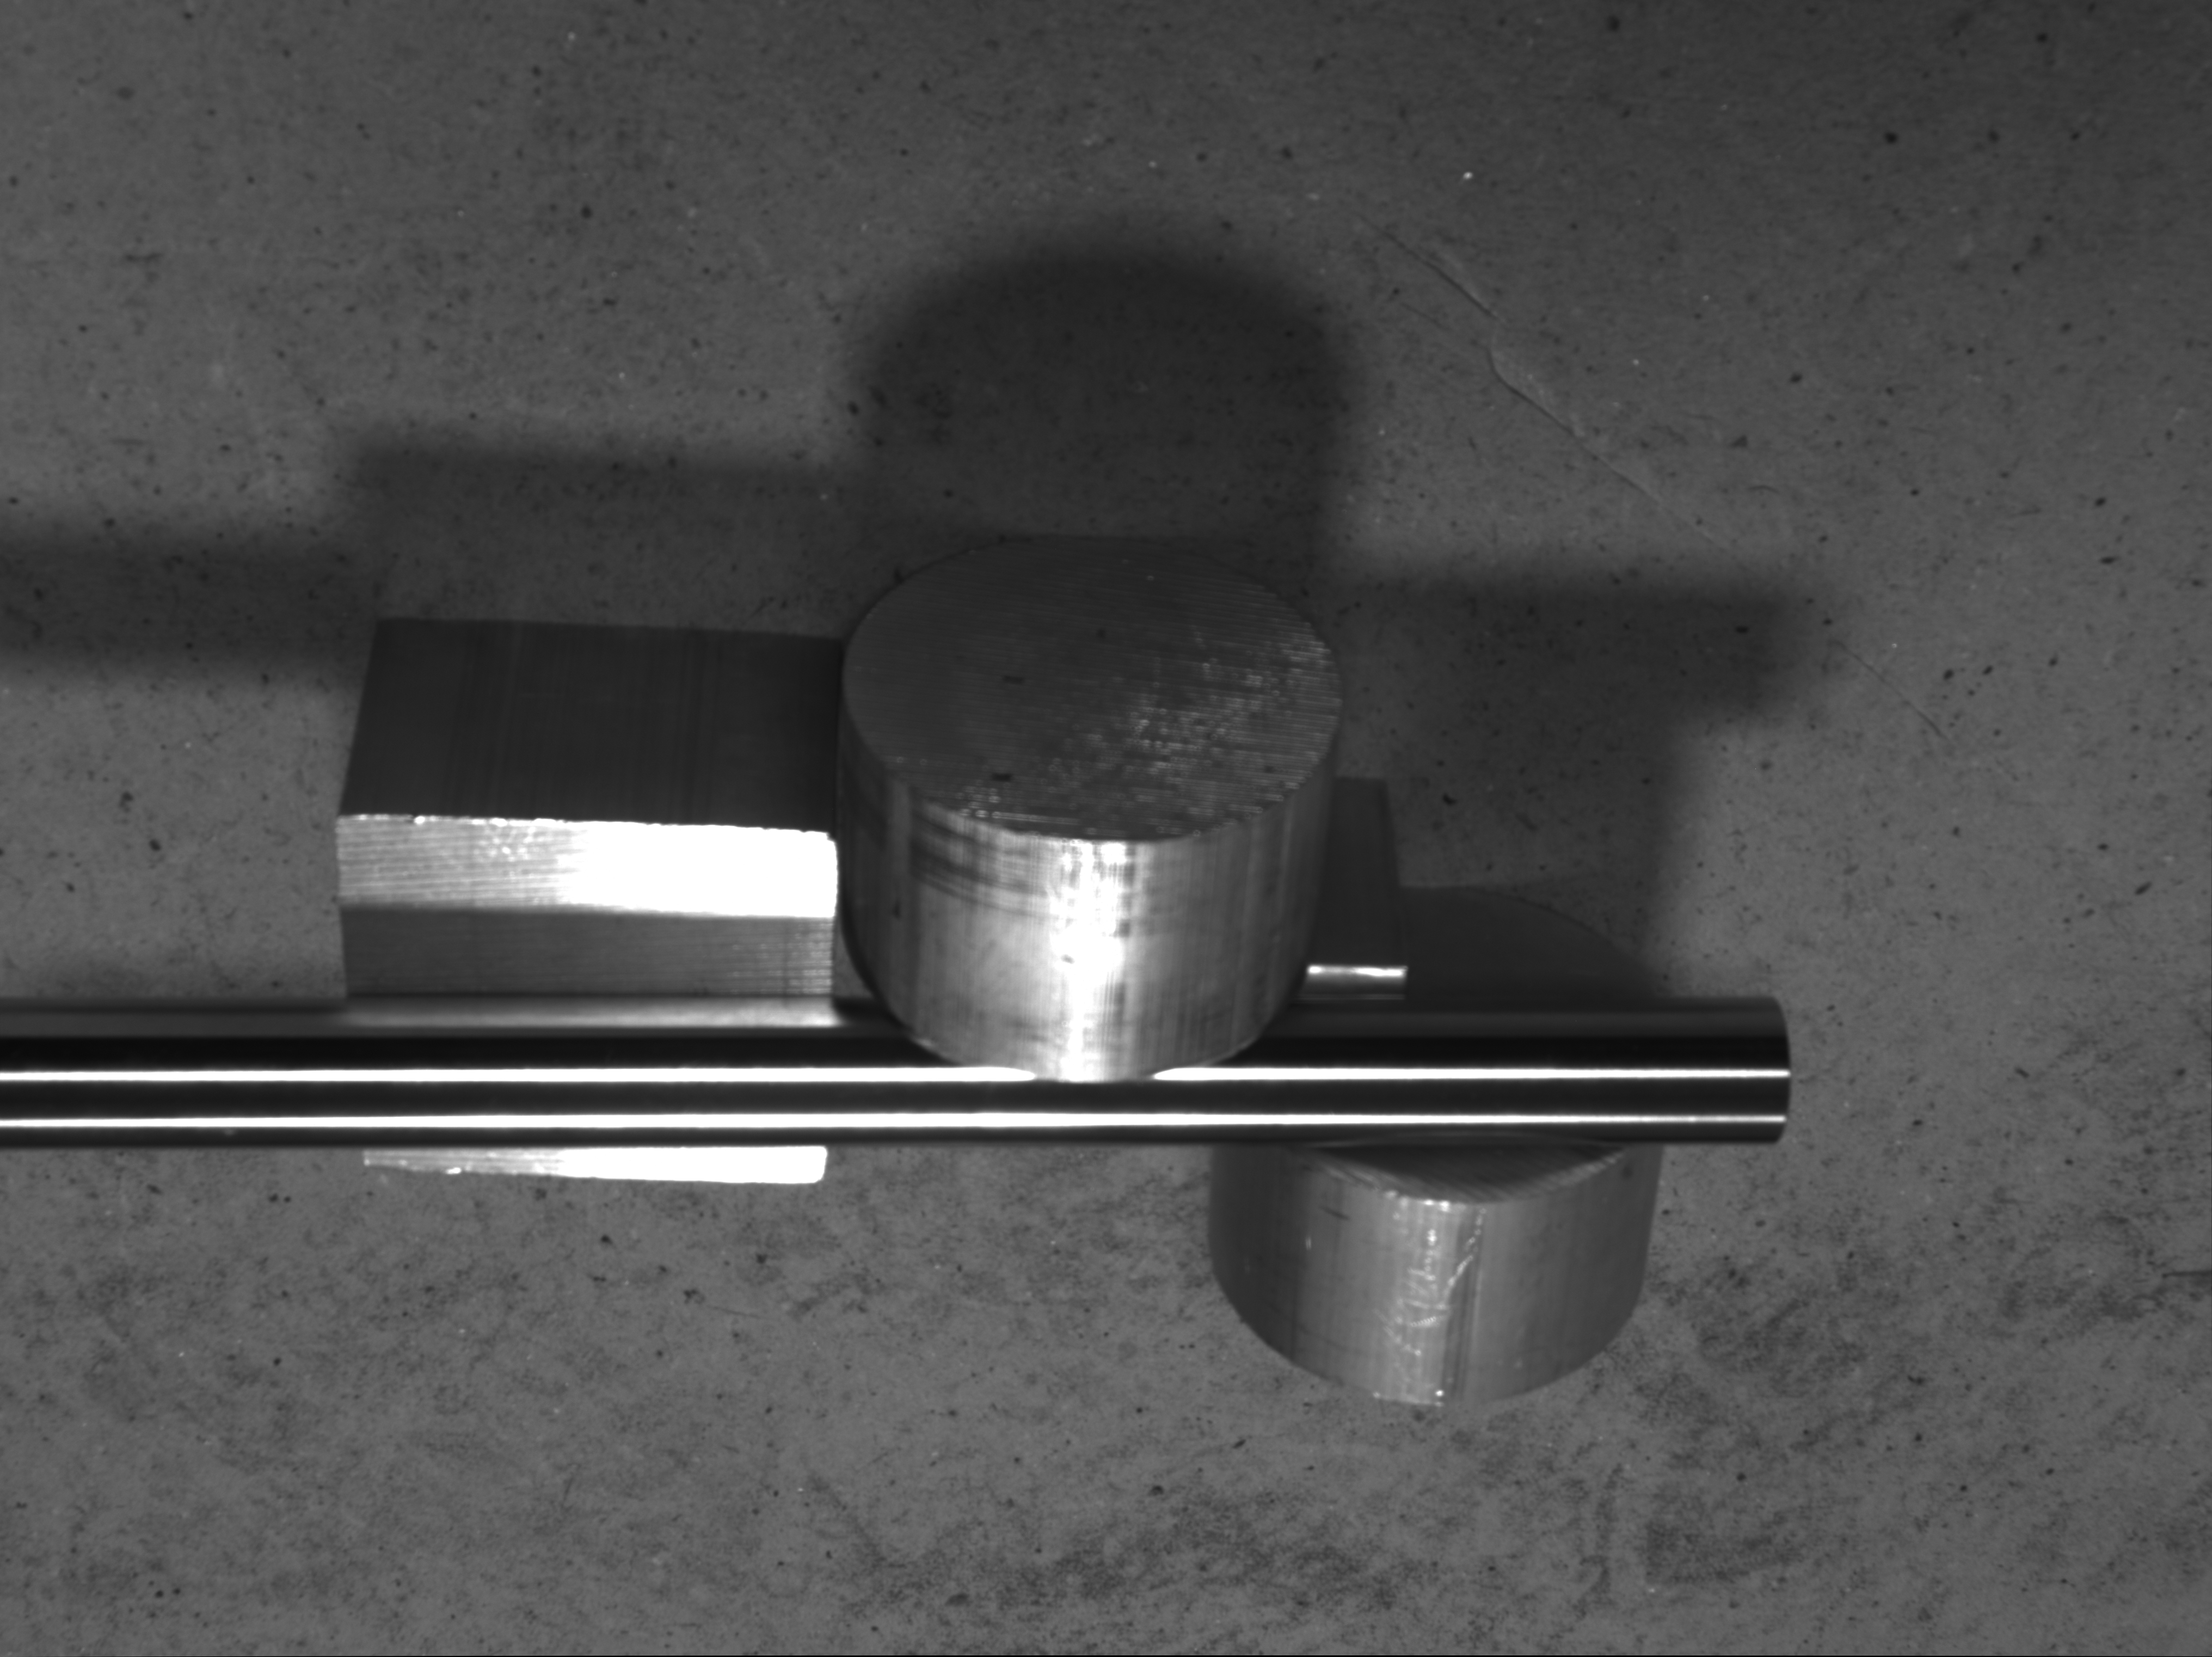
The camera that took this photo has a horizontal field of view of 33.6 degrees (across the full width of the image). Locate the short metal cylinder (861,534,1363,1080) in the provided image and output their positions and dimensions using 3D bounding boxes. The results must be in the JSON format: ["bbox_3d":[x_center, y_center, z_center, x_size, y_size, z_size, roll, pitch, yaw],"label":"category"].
[{"bbox_3d":[0.000,-0.005,0.600,0.080,0.080,0.050,2,130,-3],"label":"short metal cylinder"}]

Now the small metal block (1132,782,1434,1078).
[{"bbox_3d":[0.029,0.018,0.636,0.050,0.050,0.025,1,130,-3],"label":"small metal block"}]

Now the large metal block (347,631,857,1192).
[{"bbox_3d":[-0.084,0.015,0.628,0.080,0.050,0.080,2,130,-4],"label":"large metal block"}]

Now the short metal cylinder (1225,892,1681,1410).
[{"bbox_3d":[0.062,0.056,0.651,0.080,0.080,0.050,0,130,-2],"label":"short metal cylinder"}]

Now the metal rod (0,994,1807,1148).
[{"bbox_3d":[-0.035,0.040,0.604,0.300,0.025,0.025,0,130,-3],"label":"metal rod"}]
